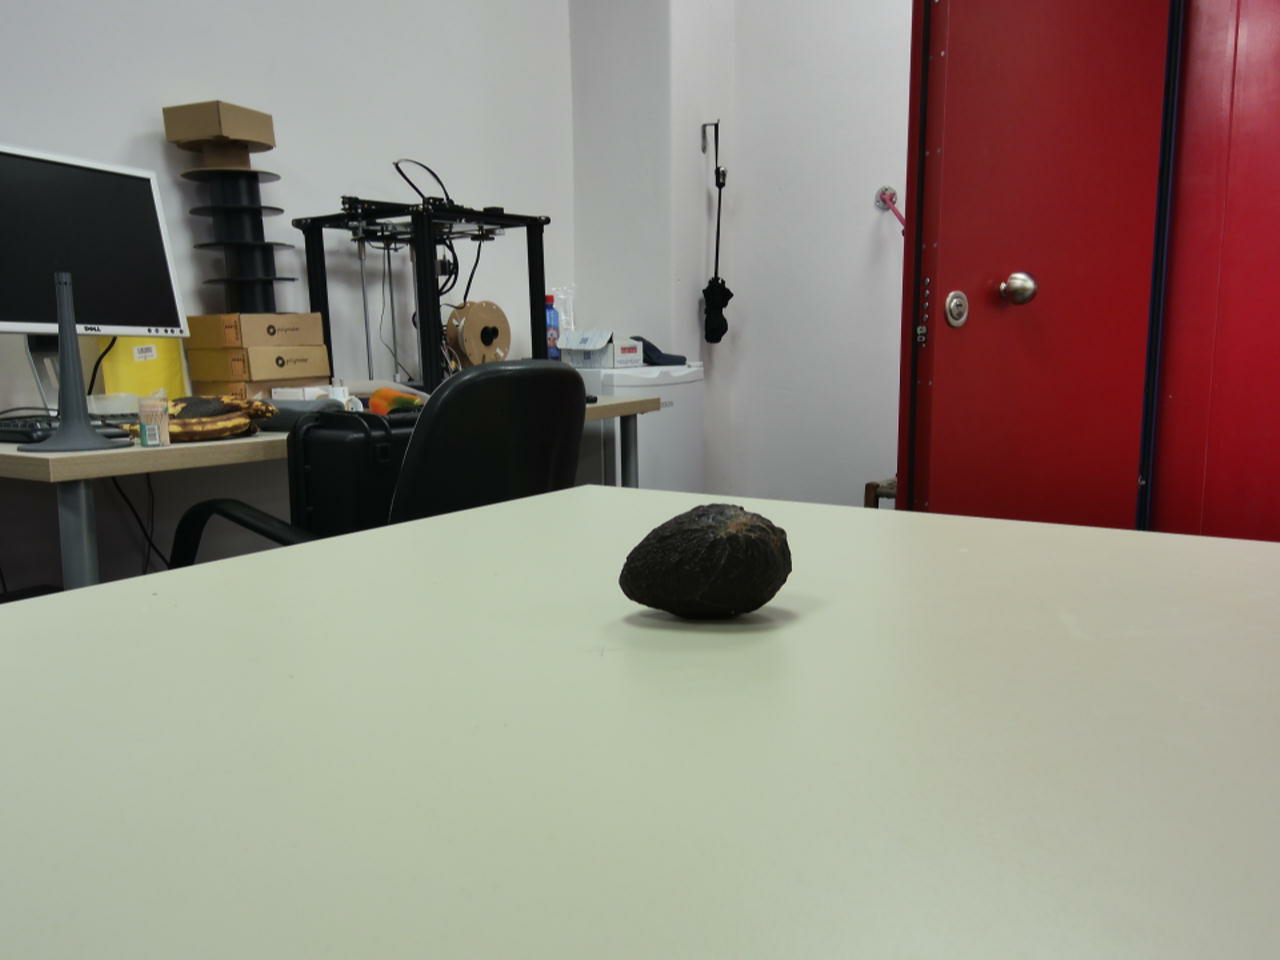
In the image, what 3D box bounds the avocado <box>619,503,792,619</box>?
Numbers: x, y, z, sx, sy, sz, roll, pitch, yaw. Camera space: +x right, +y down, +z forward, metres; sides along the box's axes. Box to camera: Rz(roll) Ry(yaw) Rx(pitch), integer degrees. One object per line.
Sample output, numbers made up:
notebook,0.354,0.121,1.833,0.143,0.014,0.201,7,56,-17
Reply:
avocado,0.036,0.044,0.545,0.092,0.062,0.062,2,6,12
